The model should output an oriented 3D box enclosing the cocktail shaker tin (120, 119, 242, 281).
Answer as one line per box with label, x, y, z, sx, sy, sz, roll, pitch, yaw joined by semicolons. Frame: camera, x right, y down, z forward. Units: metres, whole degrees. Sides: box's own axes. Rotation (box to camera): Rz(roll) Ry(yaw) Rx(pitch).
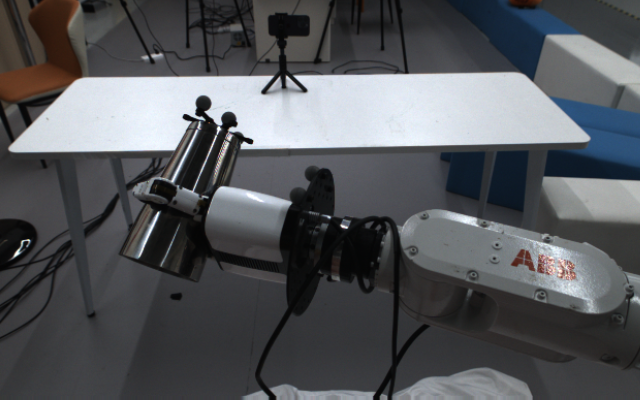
cocktail shaker tin;-0.151;0.000;0.557;0.093;0.093;0.170;14;73;16
